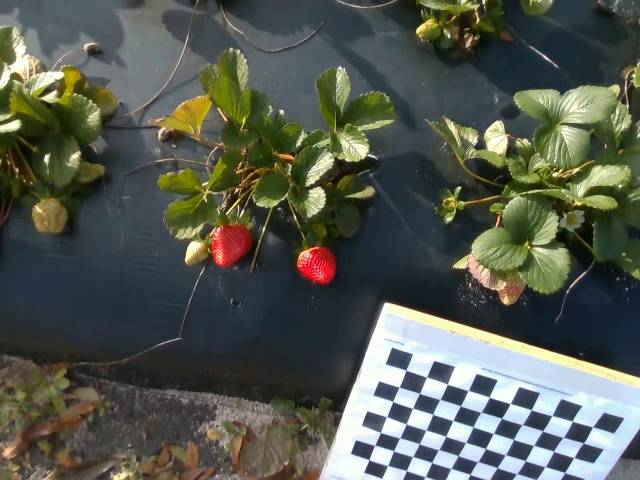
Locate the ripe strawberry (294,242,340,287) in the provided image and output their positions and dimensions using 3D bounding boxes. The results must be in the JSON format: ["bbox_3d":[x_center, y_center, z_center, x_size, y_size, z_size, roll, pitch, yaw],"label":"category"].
[{"bbox_3d":[-0.002,0.023,0.434,0.033,0.038,0.039,15,39,-20],"label":"ripe strawberry"}]

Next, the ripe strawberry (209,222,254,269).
[{"bbox_3d":[-0.070,0.007,0.434,0.035,0.036,0.041,5,-39,12],"label":"ripe strawberry"}]
